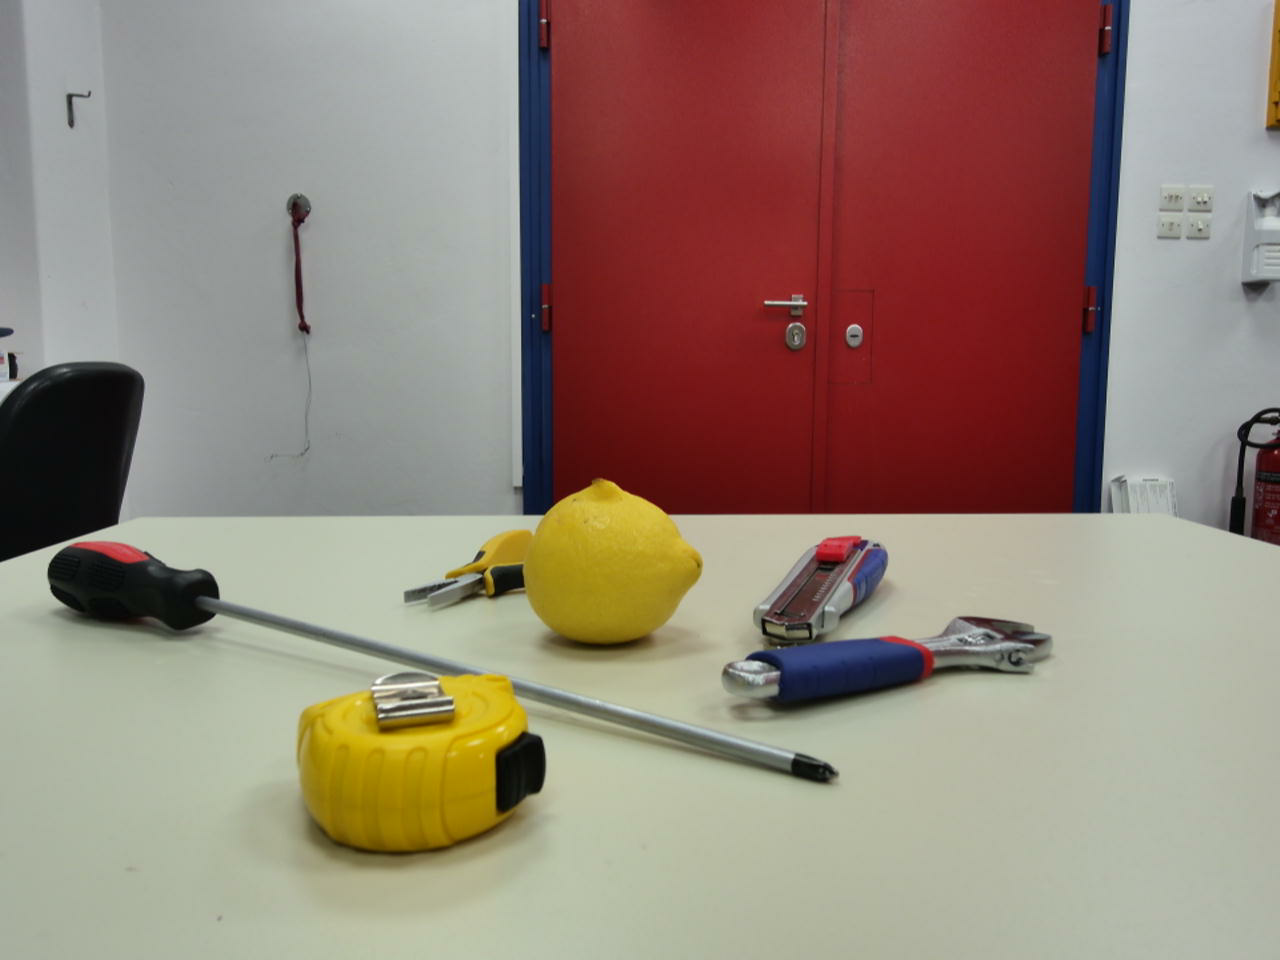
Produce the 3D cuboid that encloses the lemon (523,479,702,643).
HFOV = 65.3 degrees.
[{"bbox_3d":[-0.016,0.035,0.437,0.070,0.071,0.071,-4,5,-34],"label":"lemon"}]
